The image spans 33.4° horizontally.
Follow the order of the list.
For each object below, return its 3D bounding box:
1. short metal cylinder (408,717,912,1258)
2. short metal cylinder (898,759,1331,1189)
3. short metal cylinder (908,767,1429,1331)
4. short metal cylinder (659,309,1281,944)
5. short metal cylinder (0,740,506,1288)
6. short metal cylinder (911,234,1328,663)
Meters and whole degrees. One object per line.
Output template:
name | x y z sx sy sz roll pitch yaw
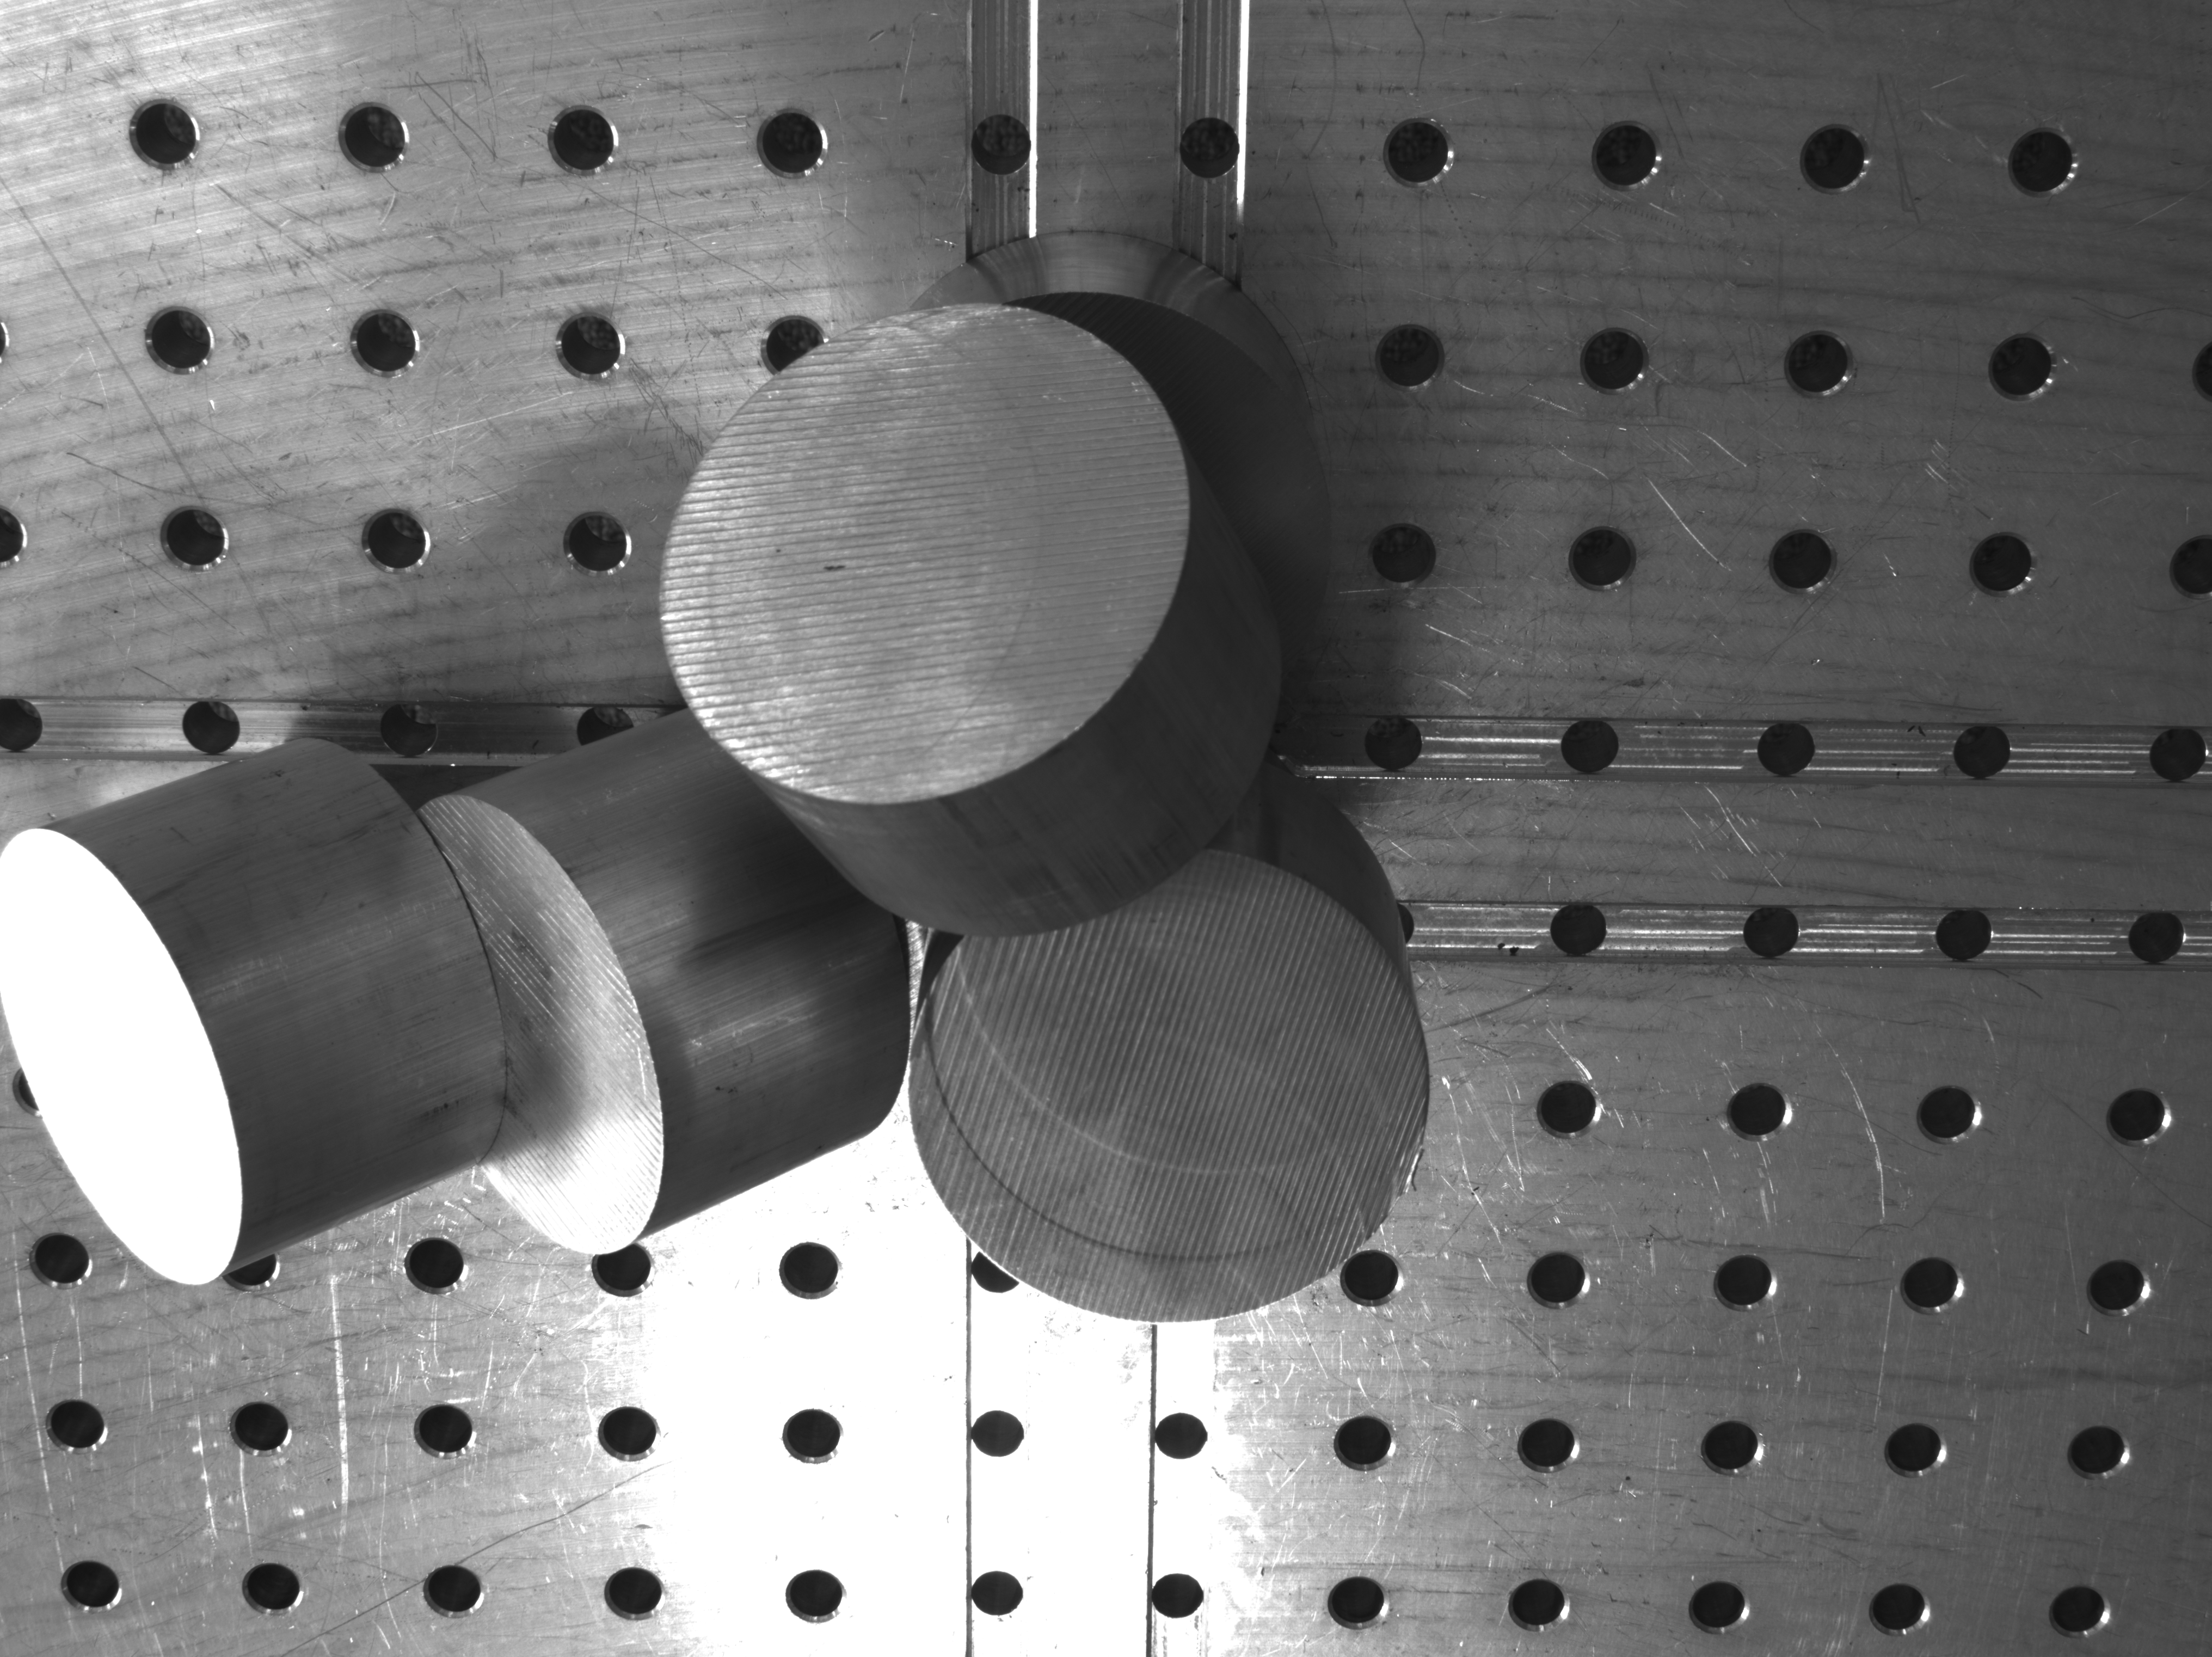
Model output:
short metal cylinder | -0.077 0.025 0.618 0.050 0.080 0.080 -23 115 -36
short metal cylinder | 0.001 0.022 0.640 0.080 0.050 0.080 0 110 0
short metal cylinder | 0.010 0.033 0.590 0.080 0.050 0.080 0 110 0
short metal cylinder | -0.019 -0.029 0.546 0.080 0.080 0.050 -23 152 8
short metal cylinder | -0.145 0.031 0.621 0.050 0.080 0.080 -23 115 -37
short metal cylinder | -0.004 -0.055 0.613 0.080 0.050 0.080 0 110 0
